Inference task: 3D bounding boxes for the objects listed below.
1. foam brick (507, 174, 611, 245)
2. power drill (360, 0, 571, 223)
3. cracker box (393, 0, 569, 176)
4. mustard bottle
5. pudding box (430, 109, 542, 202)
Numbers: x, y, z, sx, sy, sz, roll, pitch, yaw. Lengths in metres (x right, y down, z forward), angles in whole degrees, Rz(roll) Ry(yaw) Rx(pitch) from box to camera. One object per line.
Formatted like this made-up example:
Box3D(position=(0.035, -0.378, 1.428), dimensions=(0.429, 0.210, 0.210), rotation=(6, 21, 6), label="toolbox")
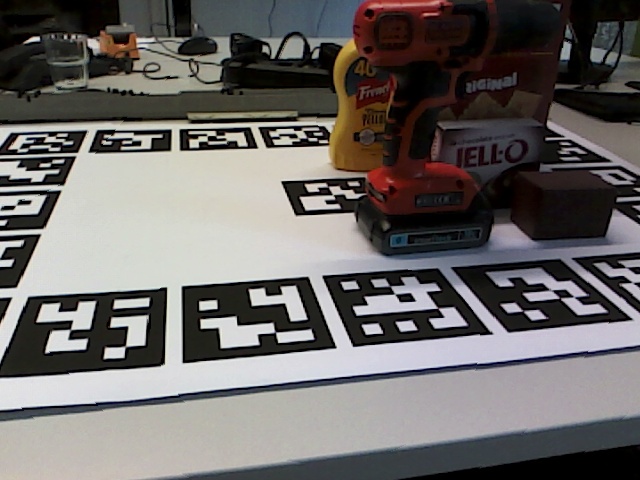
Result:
Box3D(position=(0.234, -0.031, 0.613), dimensions=(0.078, 0.051, 0.053), rotation=(-3, 31, -10), label="foam brick")
Box3D(position=(0.121, -0.113, 0.543), dimensions=(0.184, 0.186, 0.057), rotation=(-4, 26, -13), label="power drill")
Box3D(position=(0.164, -0.157, 0.659), dimensions=(0.164, 0.213, 0.072), rotation=(-7, 28, -12), label="cracker box")
Box3D(position=(0.058, -0.194, 0.732), dimensions=(0.096, 0.191, 0.058), rotation=(2, 30, 0), label="mustard bottle")
Box3D(position=(0.166, -0.086, 0.641), dimensions=(0.113, 0.090, 0.039), rotation=(-6, 28, -9), label="pudding box")
